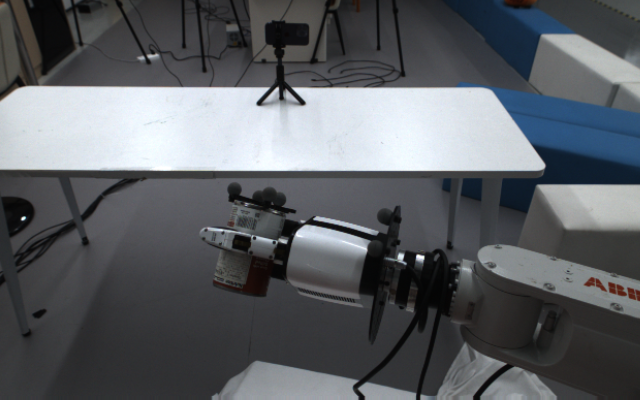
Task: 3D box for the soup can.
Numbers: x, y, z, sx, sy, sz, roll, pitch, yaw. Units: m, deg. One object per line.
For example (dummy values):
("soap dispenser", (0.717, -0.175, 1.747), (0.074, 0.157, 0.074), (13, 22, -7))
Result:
("soup can", (-0.082, 0.059, 0.581), (0.067, 0.101, 0.067), (13, -6, 1))
